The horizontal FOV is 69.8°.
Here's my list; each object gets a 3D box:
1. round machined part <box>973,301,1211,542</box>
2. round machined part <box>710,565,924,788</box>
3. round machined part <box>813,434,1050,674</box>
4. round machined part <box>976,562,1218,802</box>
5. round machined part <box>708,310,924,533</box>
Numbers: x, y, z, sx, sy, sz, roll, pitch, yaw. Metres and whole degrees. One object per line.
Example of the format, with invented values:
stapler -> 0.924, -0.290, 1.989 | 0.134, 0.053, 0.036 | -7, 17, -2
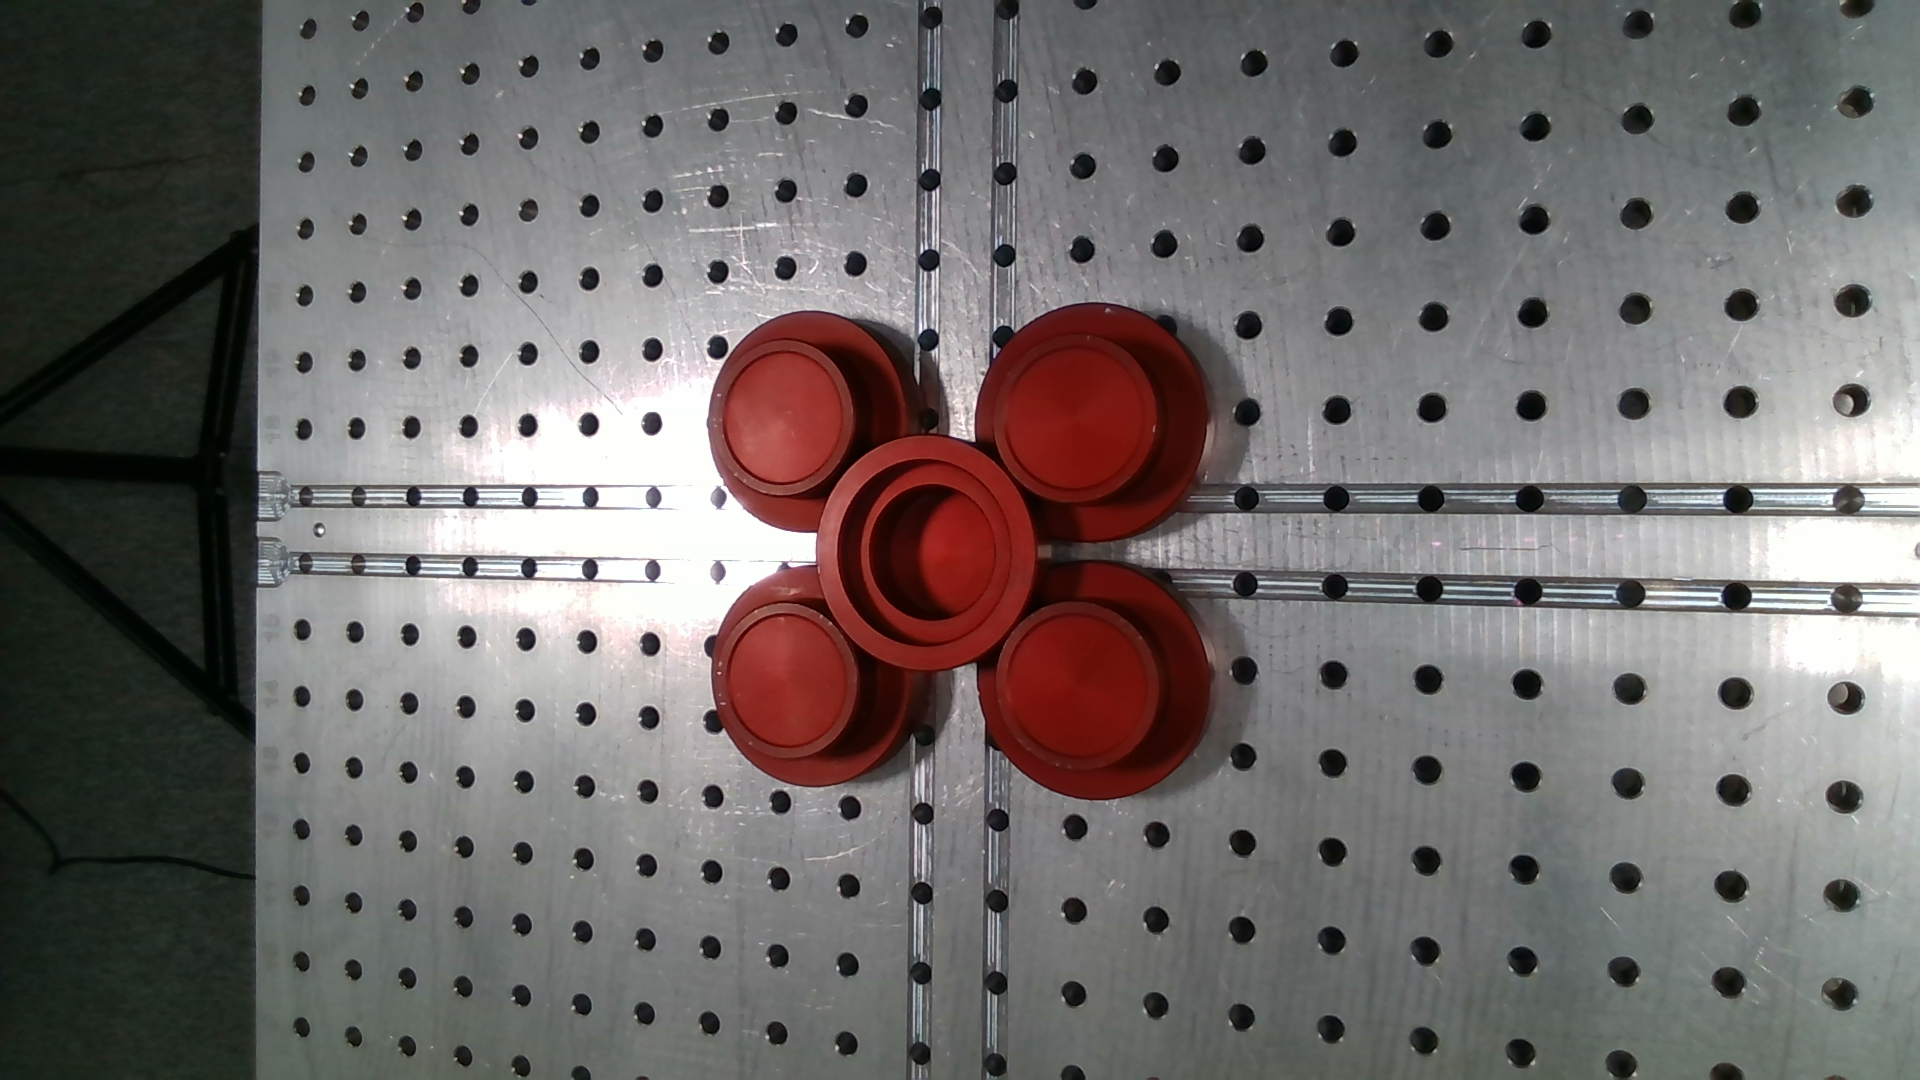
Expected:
round machined part -> 0.051, -0.048, 0.559 | 0.098, 0.042, 0.098 | 0, 91, 20
round machined part -> -0.067, 0.060, 0.604 | 0.098, 0.042, 0.098 | 0, 91, 20
round machined part -> -0.009, 0.006, 0.581 | 0.098, 0.042, 0.098 | 0, 91, 20
round machined part -> 0.052, 0.058, 0.560 | 0.098, 0.042, 0.098 | 0, 91, 20
round machined part -> -0.069, -0.052, 0.604 | 0.098, 0.042, 0.098 | 0, 91, 20
